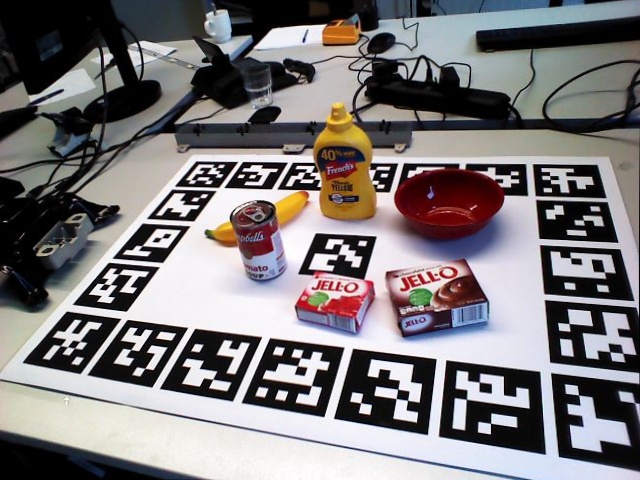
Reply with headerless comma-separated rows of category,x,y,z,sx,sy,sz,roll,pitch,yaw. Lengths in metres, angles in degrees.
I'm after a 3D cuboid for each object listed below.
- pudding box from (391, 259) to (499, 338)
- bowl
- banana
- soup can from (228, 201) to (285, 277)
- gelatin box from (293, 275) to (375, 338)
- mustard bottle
pudding box,0.156,0.071,0.663,0.114,0.039,0.089,-12,42,-1
bowl,0.213,-0.047,0.797,0.162,0.055,0.161,-8,35,6
banana,-0.095,-0.043,0.882,0.196,0.039,0.074,-26,29,-20
soup can,-0.092,-0.005,0.762,0.068,0.102,0.067,-5,36,3
gelatin box,0.019,0.086,0.687,0.090,0.030,0.073,7,43,24
mustard bottle,0.043,-0.130,0.814,0.097,0.192,0.058,3,36,18
